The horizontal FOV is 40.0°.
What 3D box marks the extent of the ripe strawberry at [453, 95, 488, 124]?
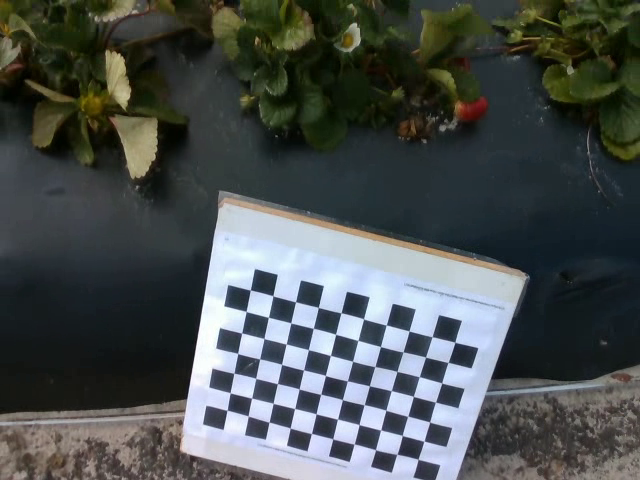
[{"bbox_3d":[0.102,-0.087,0.579,0.027,0.022,0.021,-7,29,16],"label":"ripe strawberry"}]
